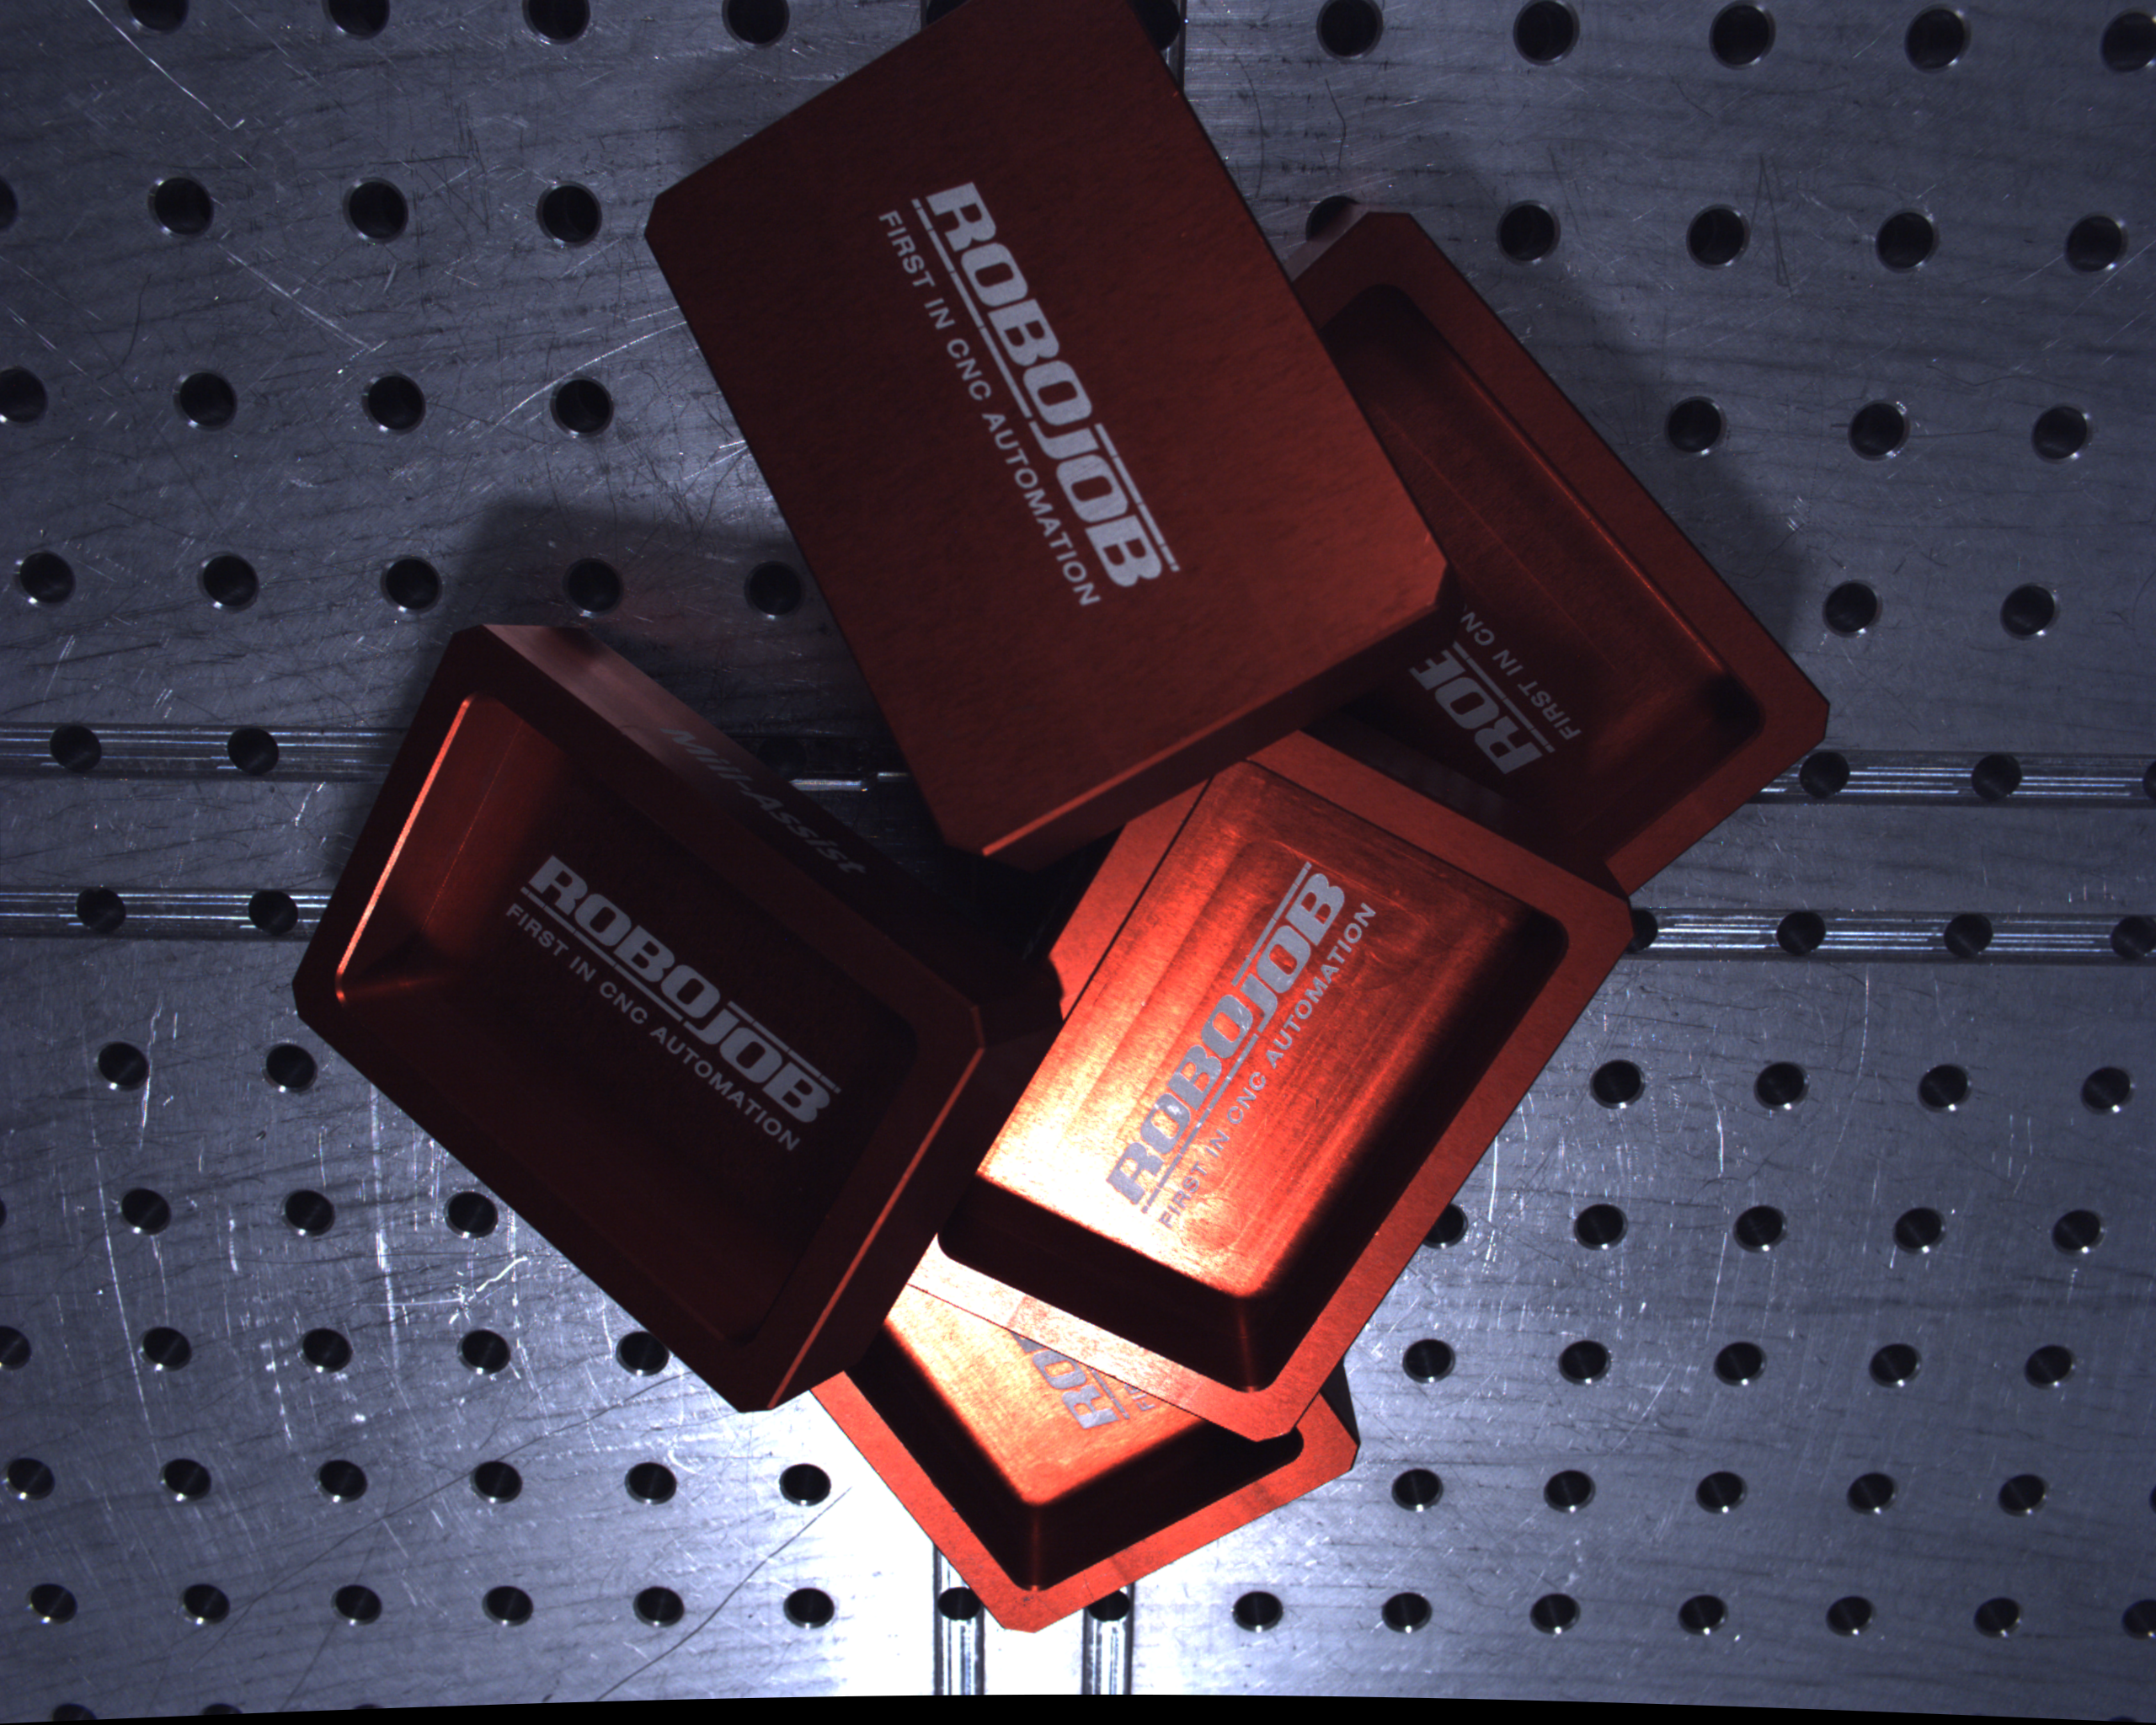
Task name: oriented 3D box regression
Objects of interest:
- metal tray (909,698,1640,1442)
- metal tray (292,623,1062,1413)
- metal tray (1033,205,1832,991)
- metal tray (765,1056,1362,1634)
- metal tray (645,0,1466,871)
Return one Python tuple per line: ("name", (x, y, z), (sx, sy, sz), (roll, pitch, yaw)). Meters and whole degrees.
("metal tray", (0.031, 0.037, 0.393), (0.090, 0.030, 0.129), (27, 108, -10))
("metal tray", (-0.078, 0.026, 0.386), (0.130, 0.030, 0.089), (36, 108, 19))
("metal tray", (0.065, -0.046, 0.394), (0.090, 0.030, 0.130), (-42, 106, 13))
("metal tray", (-0.011, 0.093, 0.445), (0.090, 0.030, 0.130), (-31, 108, 10))
("metal tray", (-0.005, -0.075, 0.351), (0.090, 0.030, 0.130), (-29, 78, 9))
